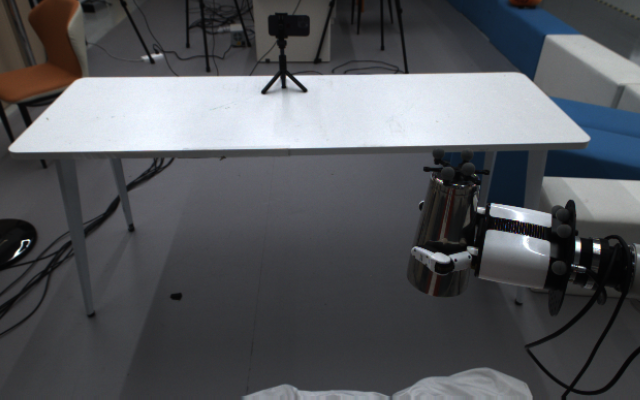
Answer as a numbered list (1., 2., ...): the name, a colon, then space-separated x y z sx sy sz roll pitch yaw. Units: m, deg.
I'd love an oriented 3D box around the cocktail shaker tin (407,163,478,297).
1. cocktail shaker tin: 0.182 0.042 0.696 0.093 0.170 0.093 2 28 -1
